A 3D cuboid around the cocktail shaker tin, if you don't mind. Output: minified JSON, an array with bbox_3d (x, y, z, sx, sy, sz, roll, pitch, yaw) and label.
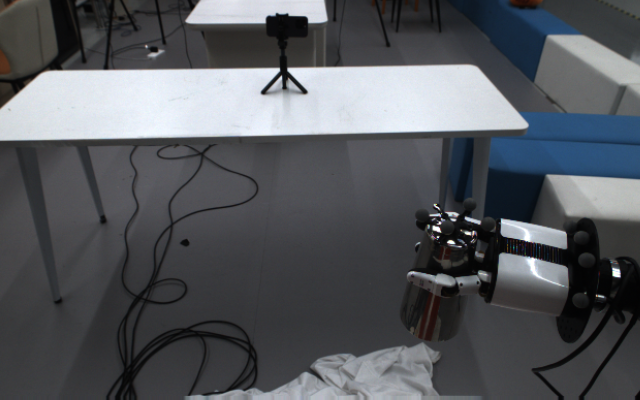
[{"bbox_3d":[0.170,0.102,0.669,0.093,0.170,0.093,1,39,-1],"label":"cocktail shaker tin"}]
